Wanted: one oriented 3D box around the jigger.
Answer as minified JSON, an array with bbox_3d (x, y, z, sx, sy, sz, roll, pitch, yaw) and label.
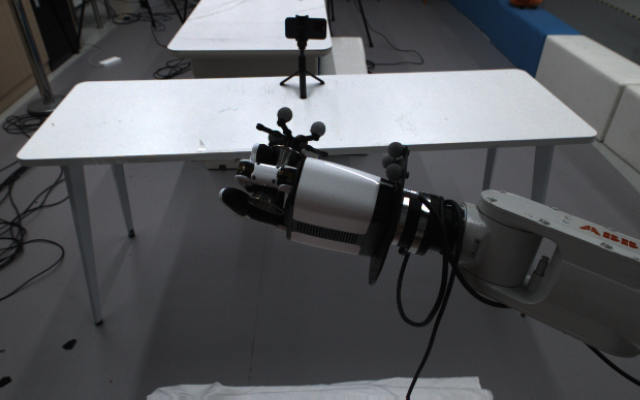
[{"bbox_3d":[-0.050,-0.026,0.543,0.043,0.043,0.071,15,70,17],"label":"jigger"}]
